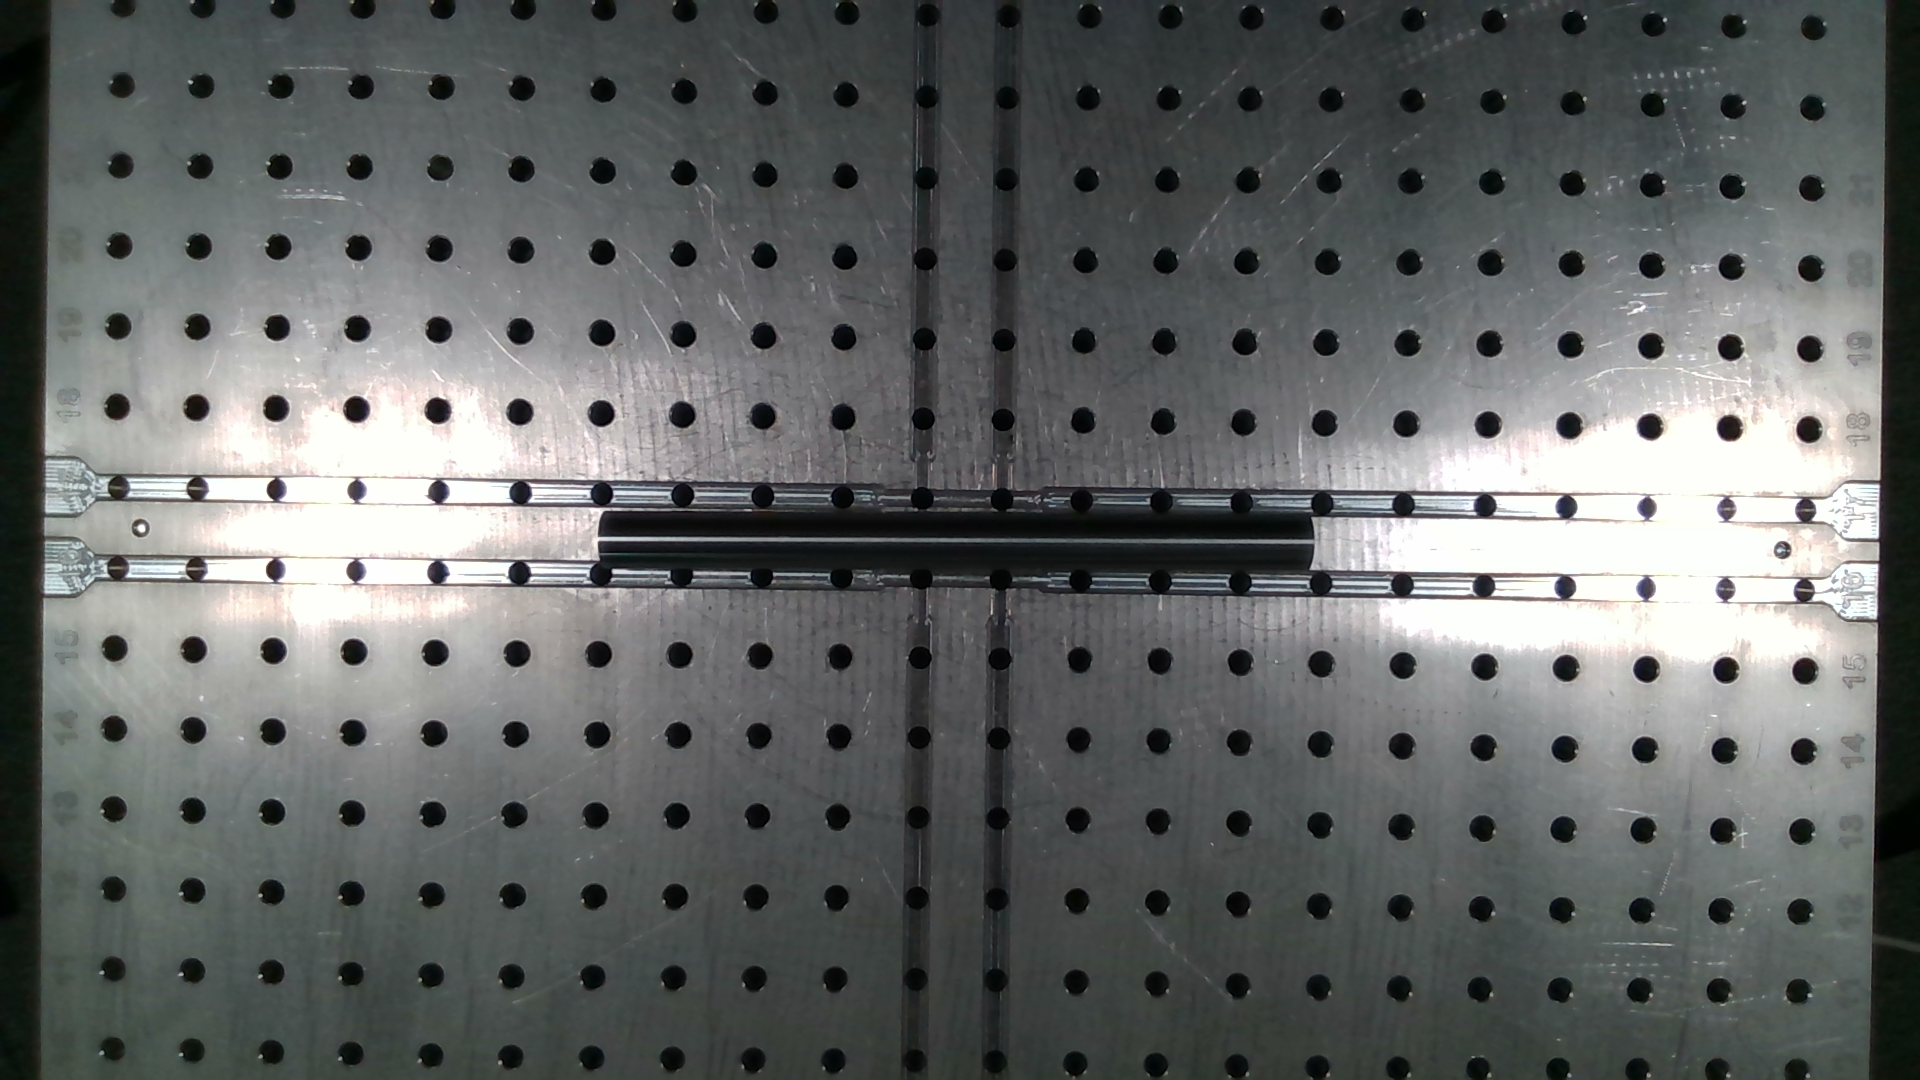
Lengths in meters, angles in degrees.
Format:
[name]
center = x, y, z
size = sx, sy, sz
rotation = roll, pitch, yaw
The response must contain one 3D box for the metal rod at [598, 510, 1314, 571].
[metal rod]
center = -0.002, 0.000, 0.589
size = 0.300, 0.025, 0.025
rotation = 0, 90, 0
